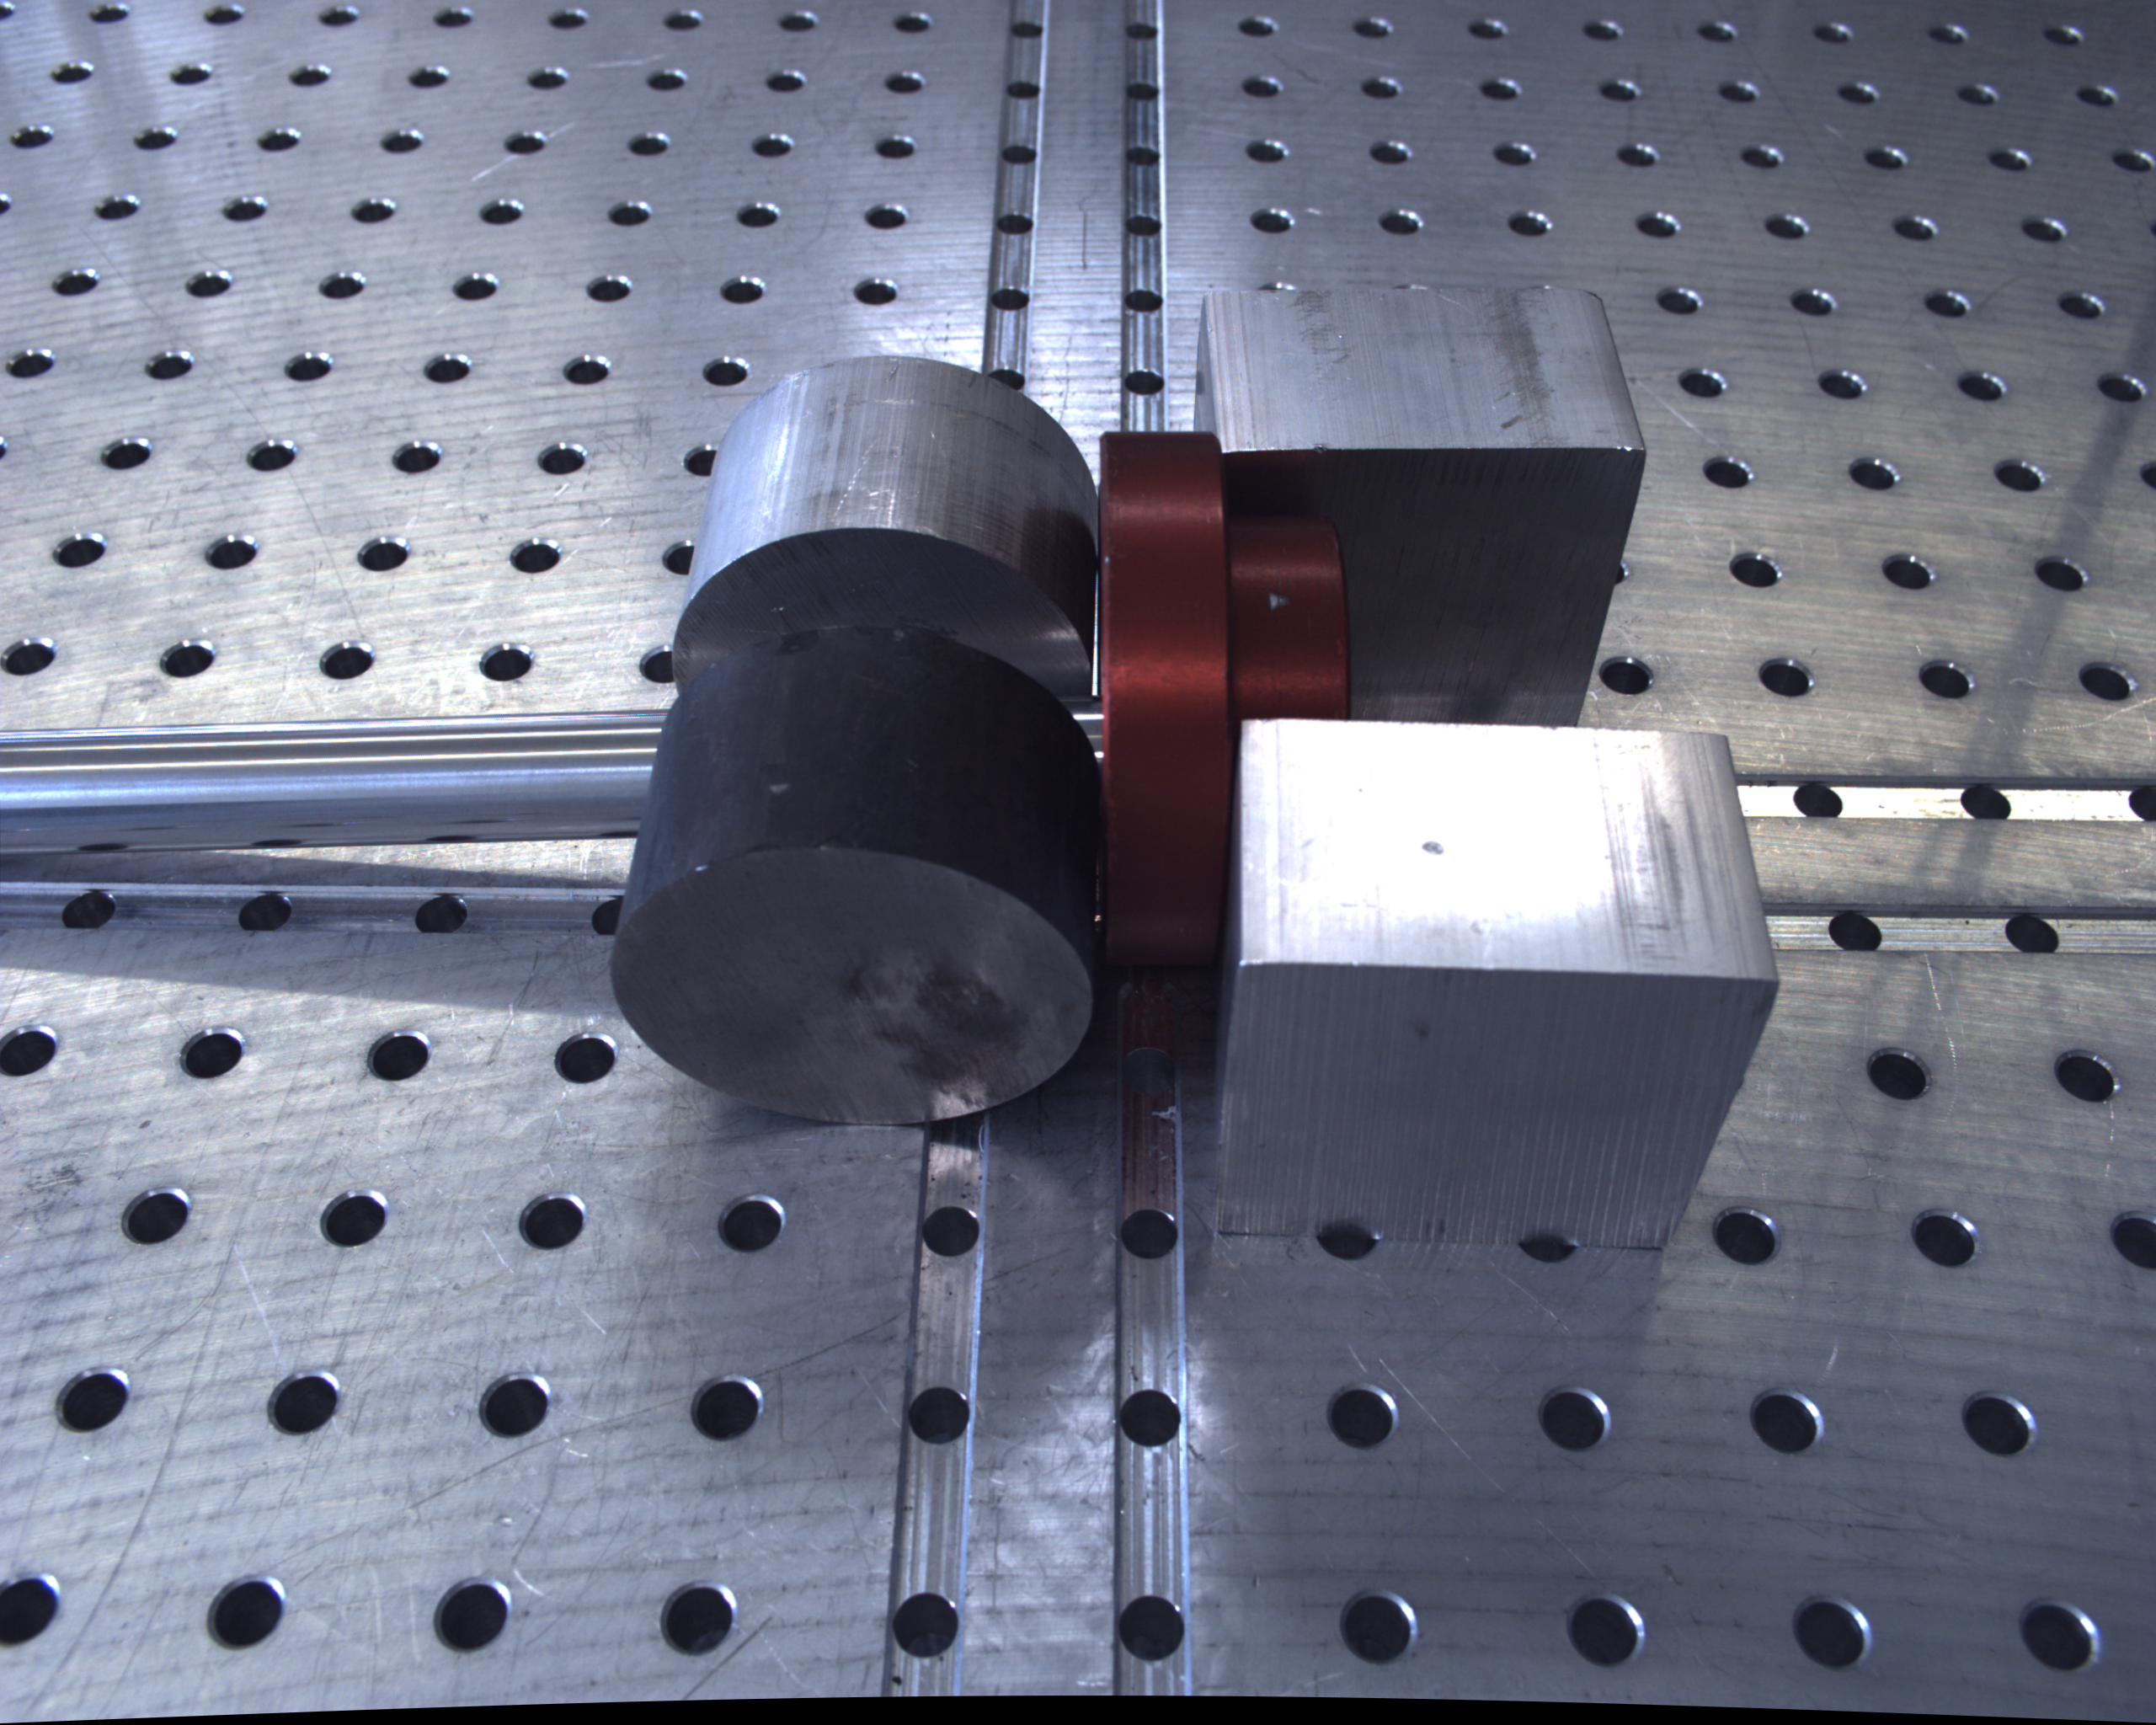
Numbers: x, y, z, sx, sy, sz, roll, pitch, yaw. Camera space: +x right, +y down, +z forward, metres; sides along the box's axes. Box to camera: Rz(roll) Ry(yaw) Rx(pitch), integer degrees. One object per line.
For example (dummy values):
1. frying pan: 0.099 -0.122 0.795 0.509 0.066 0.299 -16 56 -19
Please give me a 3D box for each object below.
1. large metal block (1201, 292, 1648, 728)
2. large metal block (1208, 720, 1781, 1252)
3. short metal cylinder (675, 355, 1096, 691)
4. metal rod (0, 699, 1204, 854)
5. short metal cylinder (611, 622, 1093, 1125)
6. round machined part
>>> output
1. large metal block: 0.065 -0.069 0.431 0.081 0.080 0.050 0 50 0
2. large metal block: 0.064 0.023 0.354 0.080 0.080 0.050 2 50 2
3. short metal cylinder: -0.036 -0.053 0.416 0.080 0.080 0.050 1 51 0
4. metal rod: -0.119 -0.016 0.405 0.302 0.025 0.025 -1 50 4
5. short metal cylinder: -0.037 0.004 0.367 0.080 0.080 0.050 1 51 1
6. round machined part: 0.026 -0.030 0.385 0.042 0.097 0.098 1 50 1
